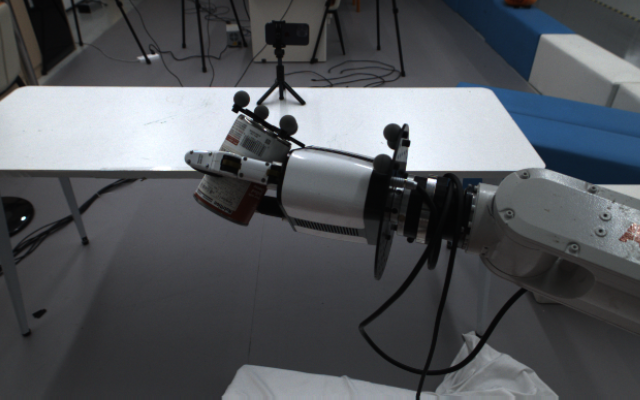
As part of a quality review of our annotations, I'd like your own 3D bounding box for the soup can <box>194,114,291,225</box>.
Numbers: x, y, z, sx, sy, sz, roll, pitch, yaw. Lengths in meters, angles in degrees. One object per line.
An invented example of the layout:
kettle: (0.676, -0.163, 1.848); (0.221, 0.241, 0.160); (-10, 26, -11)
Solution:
soup can: (-0.082, -0.032, 0.525); (0.067, 0.101, 0.067); (30, 2, -1)
